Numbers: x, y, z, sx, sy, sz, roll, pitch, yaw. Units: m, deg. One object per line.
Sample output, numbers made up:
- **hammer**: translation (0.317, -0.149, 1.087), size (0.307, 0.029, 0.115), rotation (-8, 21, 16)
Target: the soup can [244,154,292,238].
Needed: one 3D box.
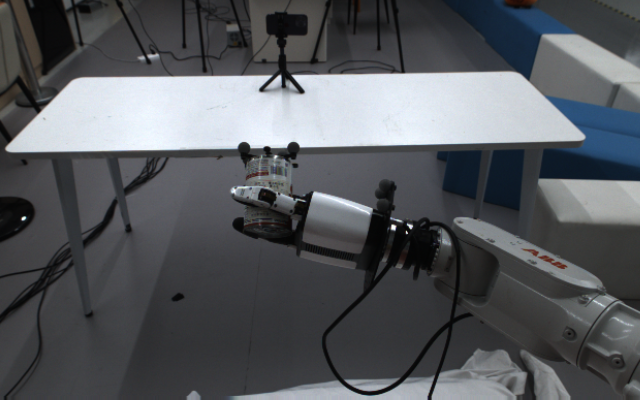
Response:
- **soup can**: translation (-0.071, -0.003, 0.668), size (0.067, 0.067, 0.101), rotation (1, 73, -2)
